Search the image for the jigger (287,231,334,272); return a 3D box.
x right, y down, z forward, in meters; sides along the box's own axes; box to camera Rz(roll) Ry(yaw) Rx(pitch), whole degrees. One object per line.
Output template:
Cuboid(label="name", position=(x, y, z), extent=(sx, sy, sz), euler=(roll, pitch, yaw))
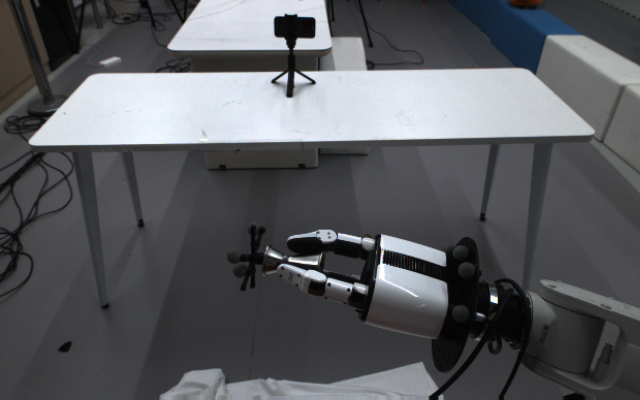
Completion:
Cuboid(label="jigger", position=(-0.023, 0.072, 0.586), extent=(0.071, 0.043, 0.043), euler=(6, 35, 7))
